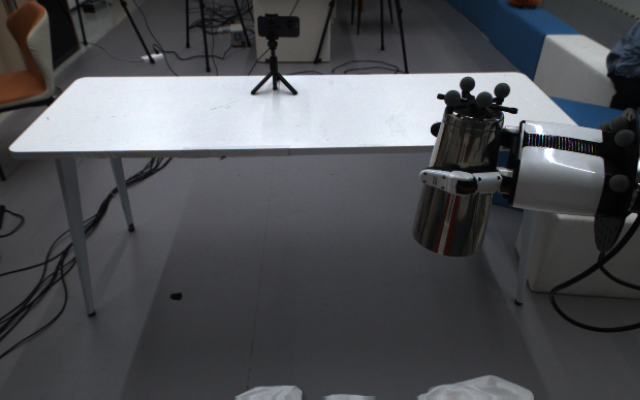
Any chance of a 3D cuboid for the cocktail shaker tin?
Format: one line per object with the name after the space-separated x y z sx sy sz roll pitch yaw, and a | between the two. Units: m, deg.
0.173 -0.028 0.590 0.093 0.170 0.093 3 30 -2 | cocktail shaker tin
